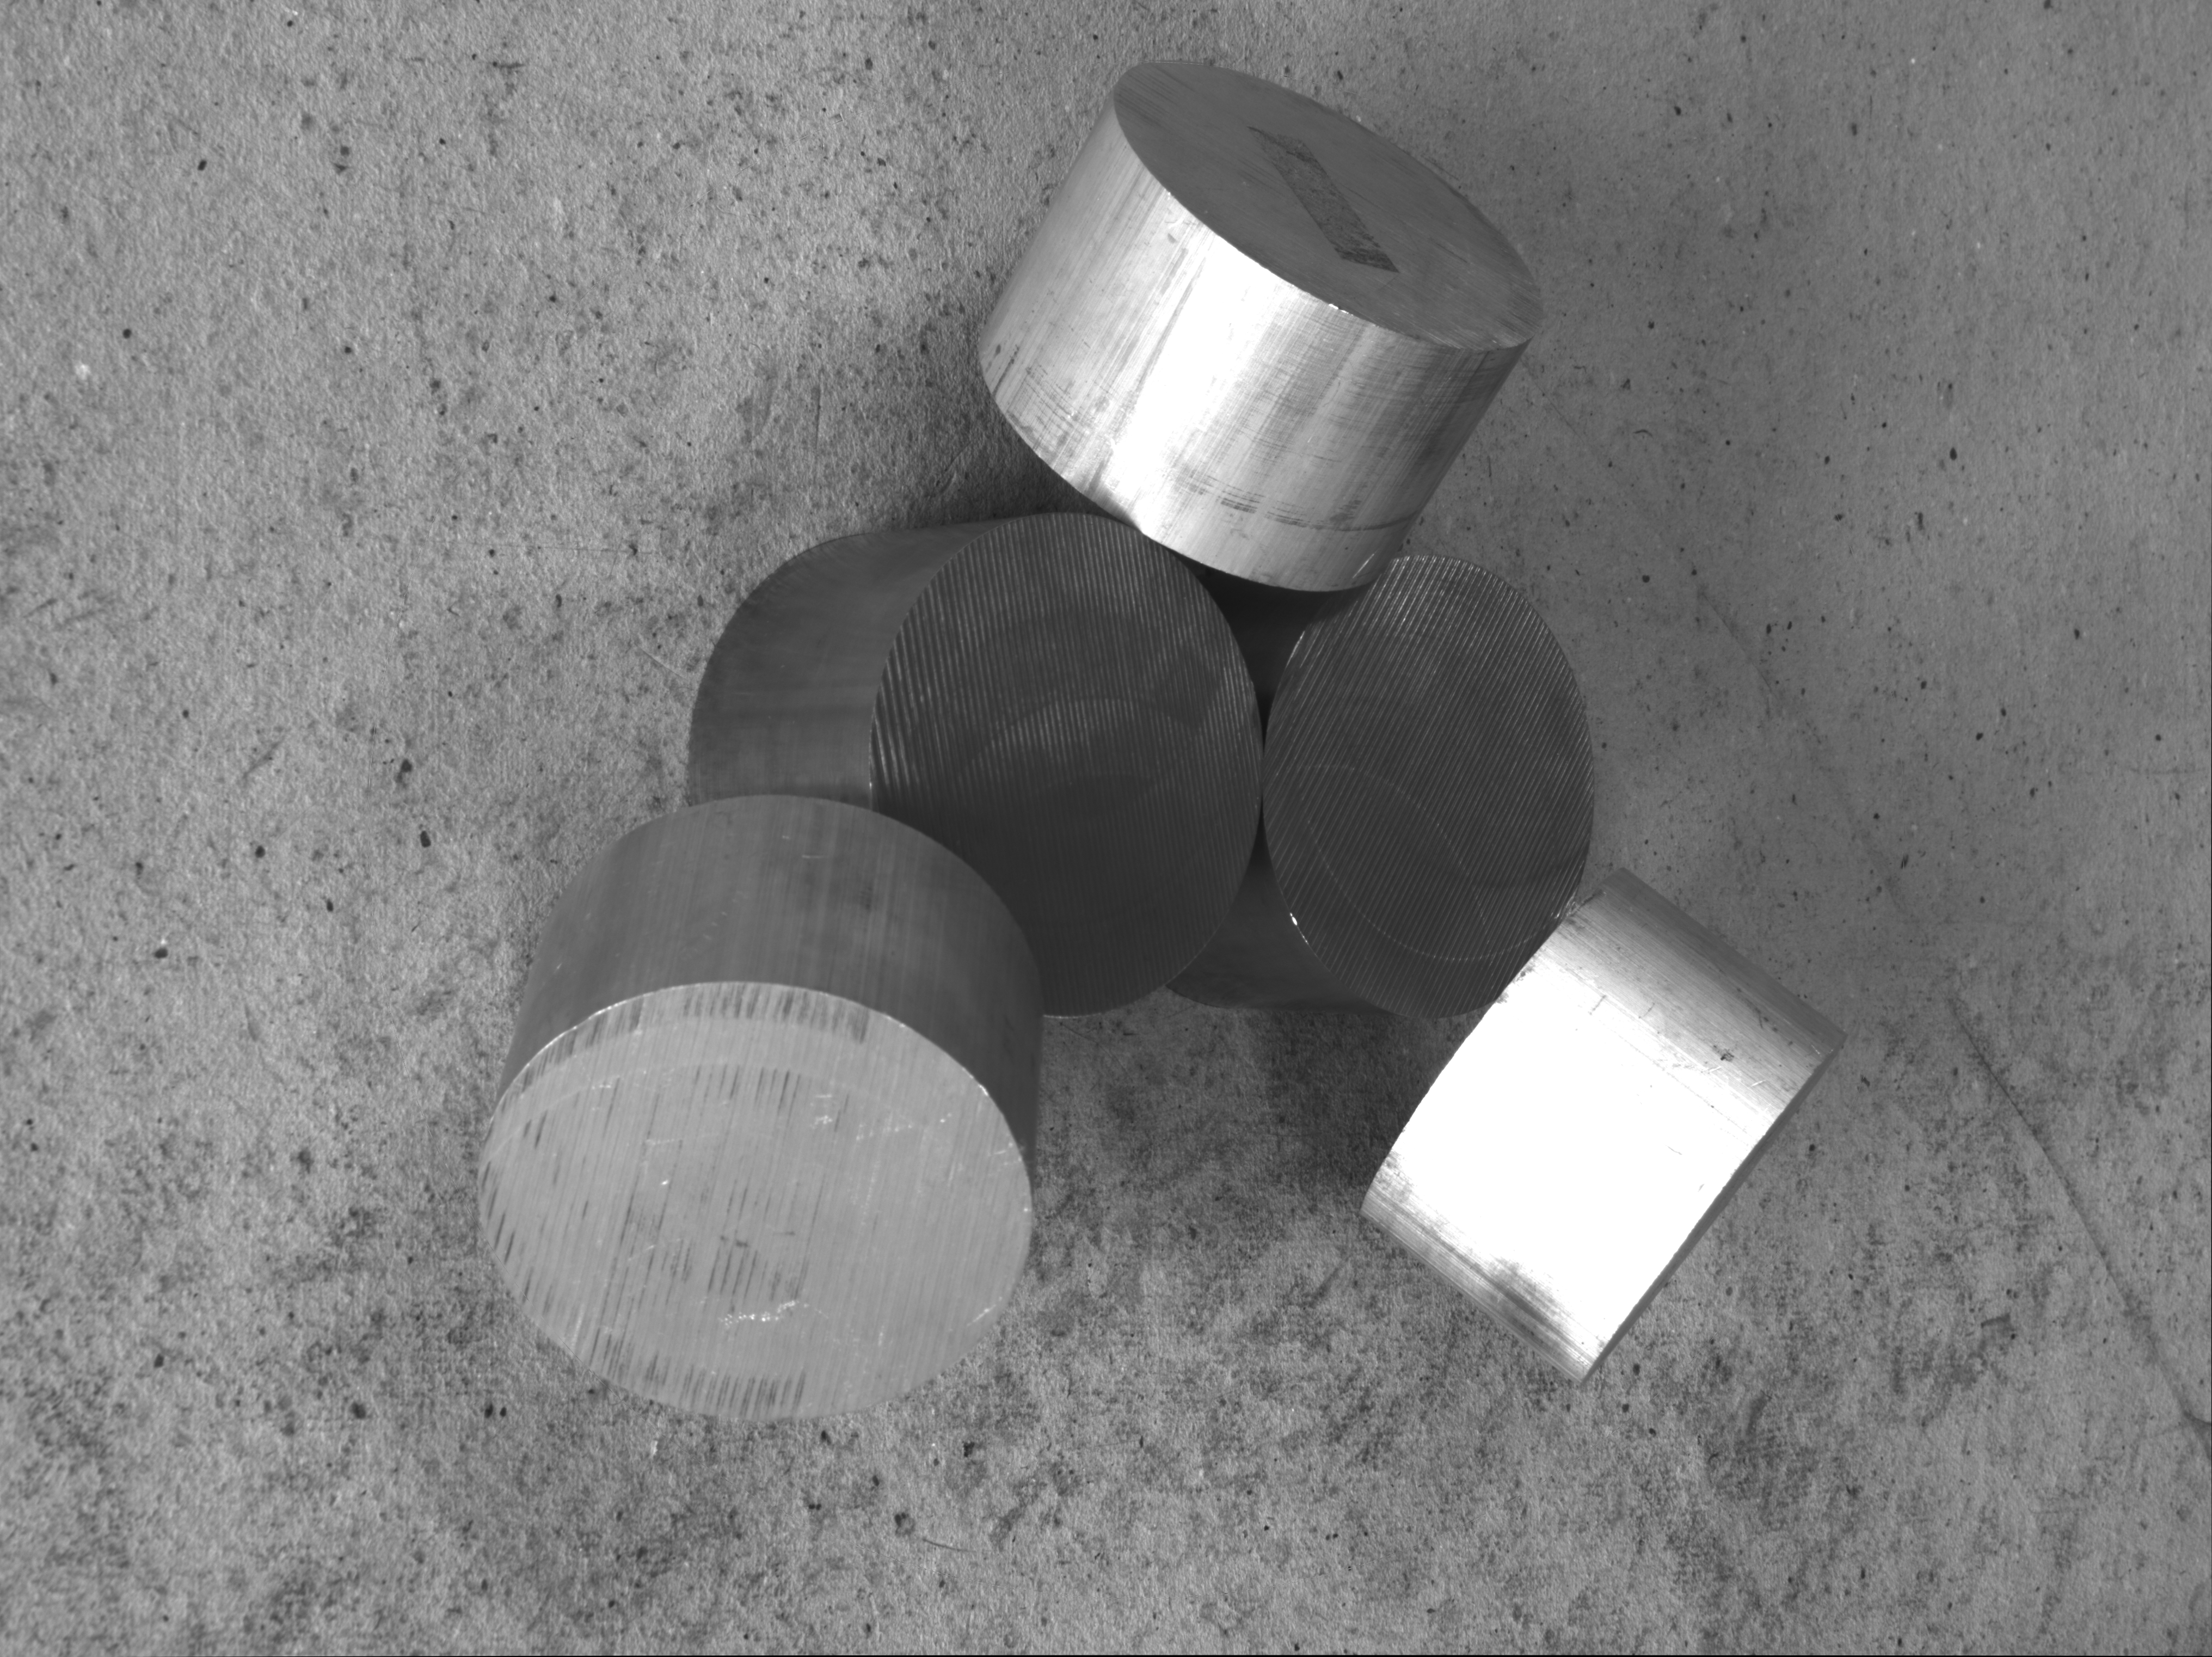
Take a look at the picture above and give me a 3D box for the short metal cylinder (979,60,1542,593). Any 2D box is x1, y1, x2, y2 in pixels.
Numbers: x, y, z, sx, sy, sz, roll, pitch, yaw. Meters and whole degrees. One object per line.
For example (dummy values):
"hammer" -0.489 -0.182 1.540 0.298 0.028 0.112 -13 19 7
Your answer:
"short metal cylinder" 0.025 -0.084 0.614 0.080 0.080 0.050 2 131 -40

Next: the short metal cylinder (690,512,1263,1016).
"short metal cylinder" -0.021 -0.010 0.602 0.080 0.050 0.080 1 89 -40

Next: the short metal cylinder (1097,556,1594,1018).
"short metal cylinder" 0.041 -0.007 0.654 0.080 0.050 0.080 1 89 -40

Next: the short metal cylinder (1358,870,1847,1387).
"short metal cylinder" 0.090 0.054 0.667 0.050 0.080 0.080 38 58 13

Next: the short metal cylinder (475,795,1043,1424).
"short metal cylinder" -0.050 0.042 0.550 0.080 0.080 0.050 54 19 -26
